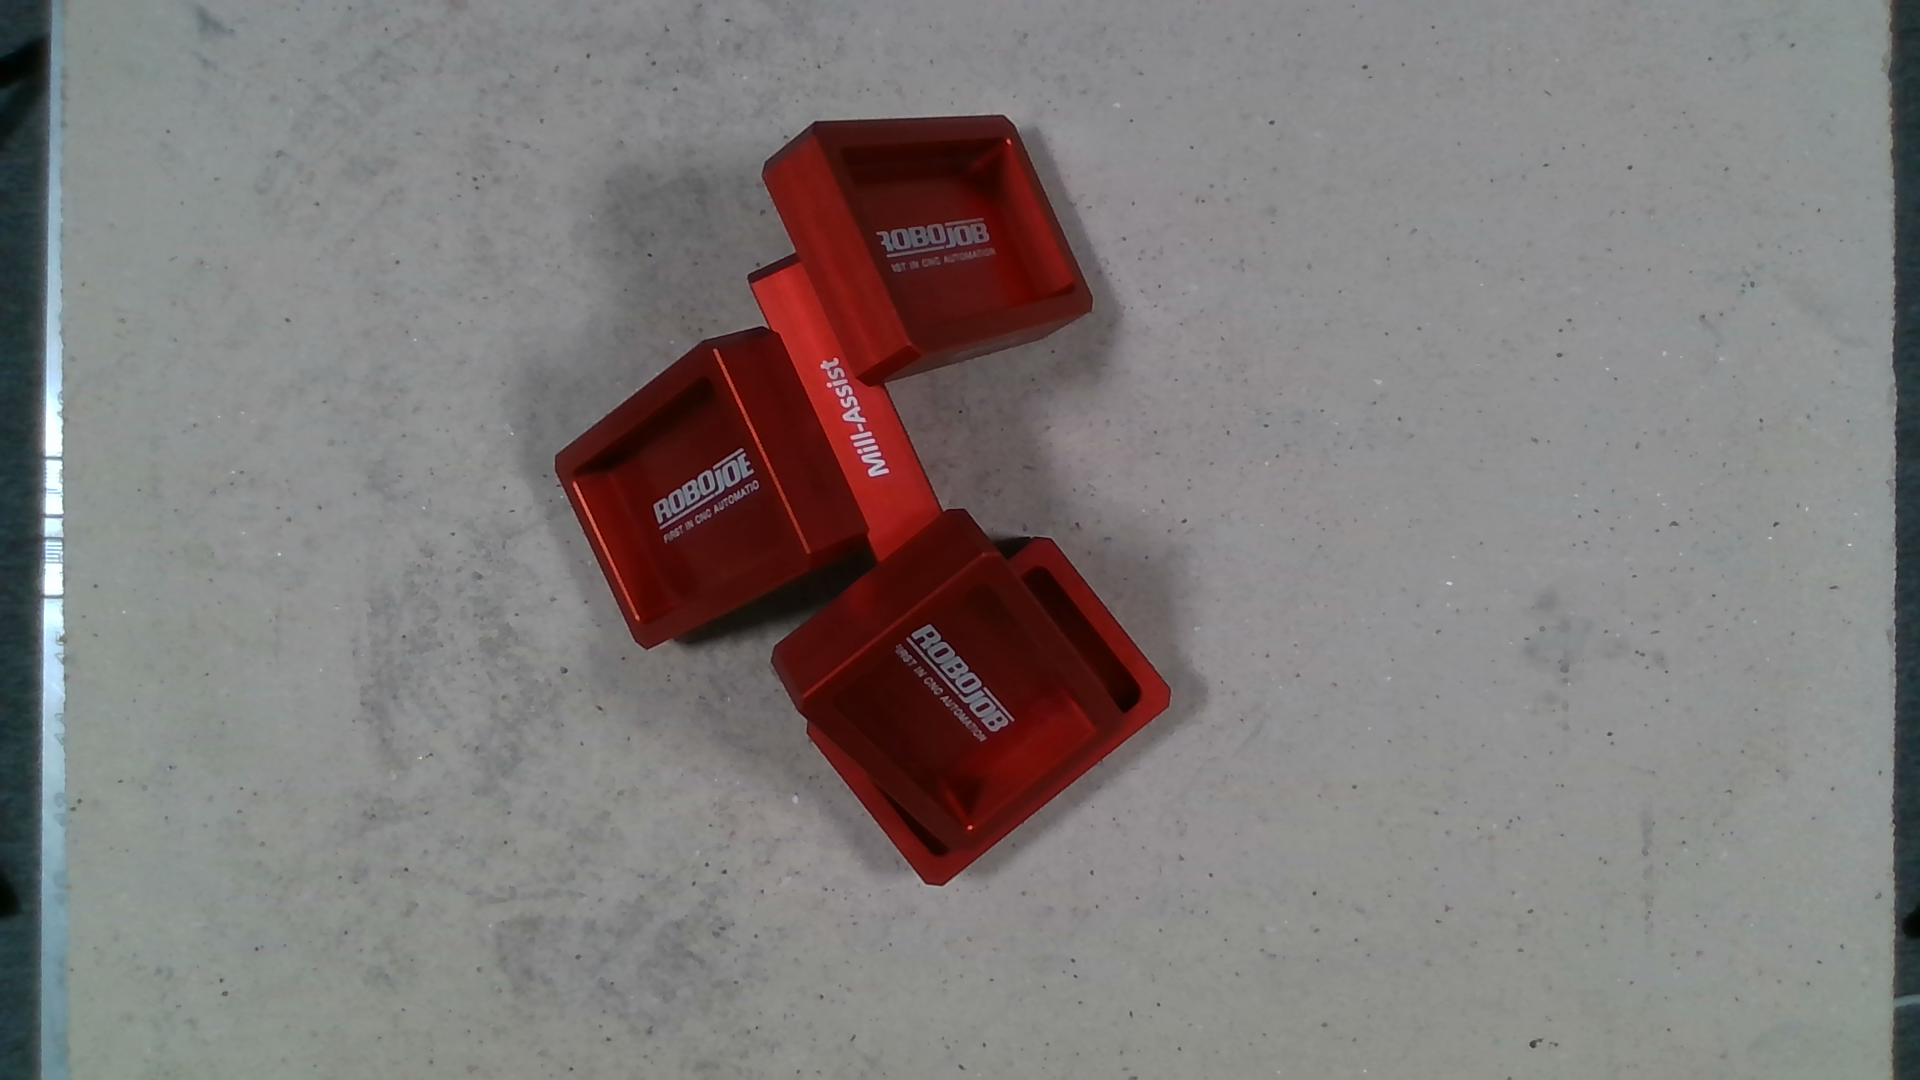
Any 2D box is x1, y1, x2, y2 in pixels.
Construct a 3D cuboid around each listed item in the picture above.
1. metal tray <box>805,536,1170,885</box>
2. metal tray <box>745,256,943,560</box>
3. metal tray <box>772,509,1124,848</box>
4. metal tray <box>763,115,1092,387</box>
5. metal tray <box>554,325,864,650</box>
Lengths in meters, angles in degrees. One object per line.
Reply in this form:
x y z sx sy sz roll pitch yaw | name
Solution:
0.012 0.071 0.585 0.130 0.030 0.090 -38 90 0 | metal tray
-0.039 -0.046 0.554 0.030 0.090 0.130 -25 90 0 | metal tray
-0.001 0.058 0.532 0.090 0.030 0.130 -38 135 1 | metal tray
-0.008 -0.117 0.539 0.030 0.130 0.090 -24 90 39 | metal tray
-0.103 -0.017 0.543 0.130 0.030 0.090 -25 90 45 | metal tray
